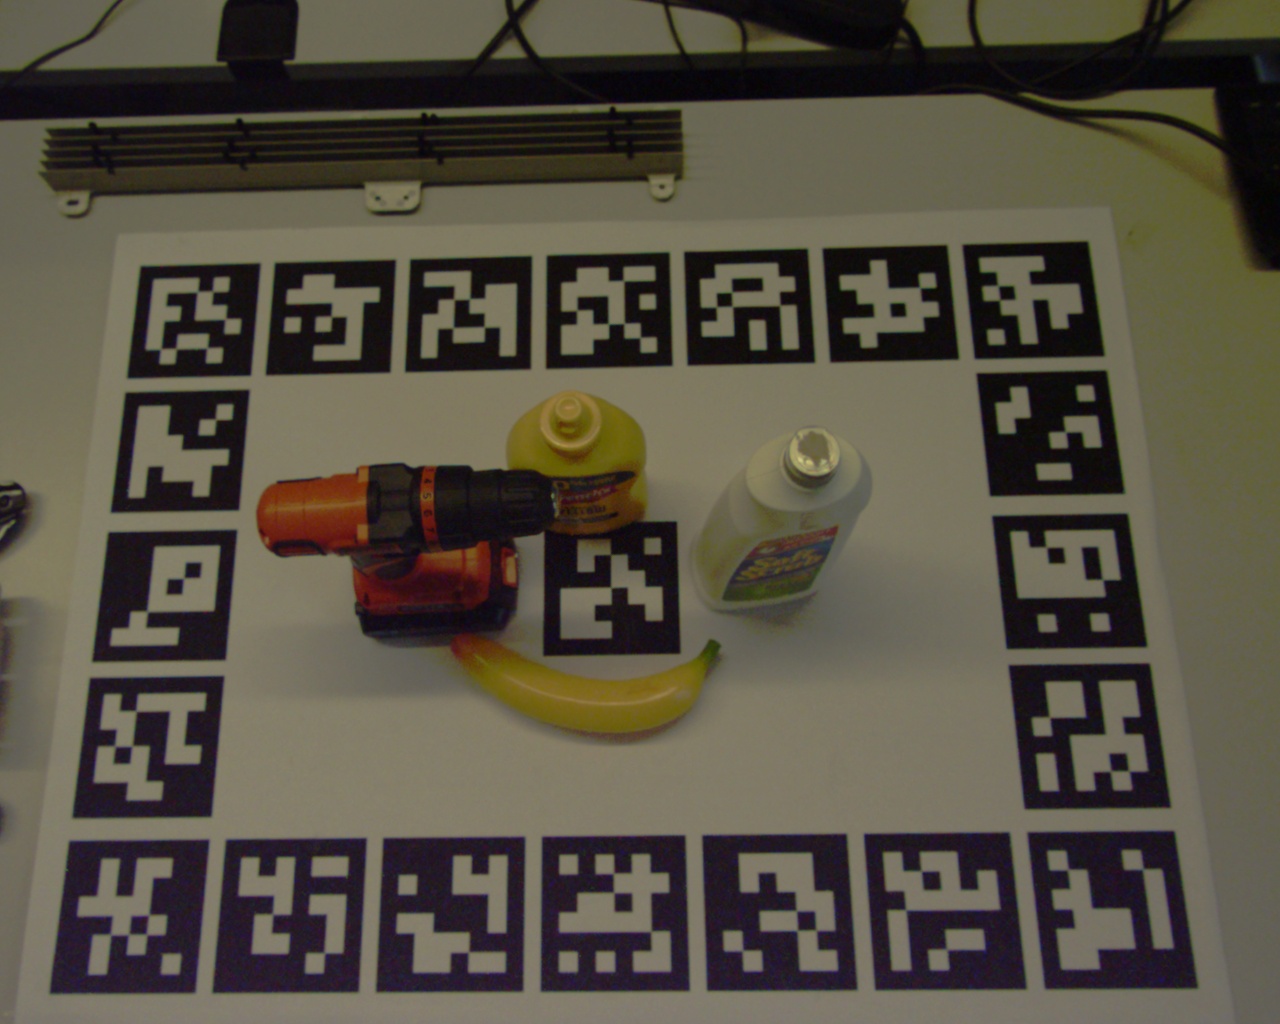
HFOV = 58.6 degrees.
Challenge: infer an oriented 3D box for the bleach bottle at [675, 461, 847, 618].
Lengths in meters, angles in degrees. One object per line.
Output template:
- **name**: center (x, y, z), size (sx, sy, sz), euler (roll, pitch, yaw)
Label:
- **bleach bottle**: center (0.079, 0.017, 0.777), size (0.102, 0.250, 0.068), euler (-8, 76, -2)

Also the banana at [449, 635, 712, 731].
- **banana**: center (-0.046, 0.125, 0.849), size (0.198, 0.039, 0.074), euler (2, 79, 4)

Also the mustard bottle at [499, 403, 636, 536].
- **mustard bottle**: center (-0.051, -0.033, 0.817), size (0.096, 0.191, 0.058), euler (1, 74, -1)

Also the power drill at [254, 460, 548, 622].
- **power drill**: center (-0.153, 0.021, 0.785), size (0.184, 0.186, 0.057), euler (-3, 68, -3)
